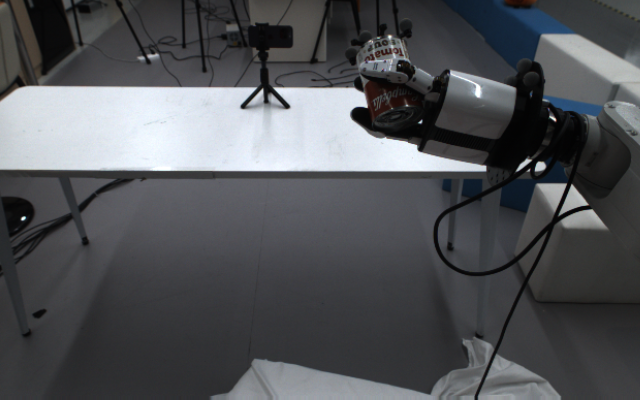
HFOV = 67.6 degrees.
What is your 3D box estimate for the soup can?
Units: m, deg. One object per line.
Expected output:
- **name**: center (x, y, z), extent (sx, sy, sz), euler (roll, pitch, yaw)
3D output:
- **soup can**: center (0.088, -0.147, 0.616), extent (0.067, 0.067, 0.101), euler (-8, 74, -14)
